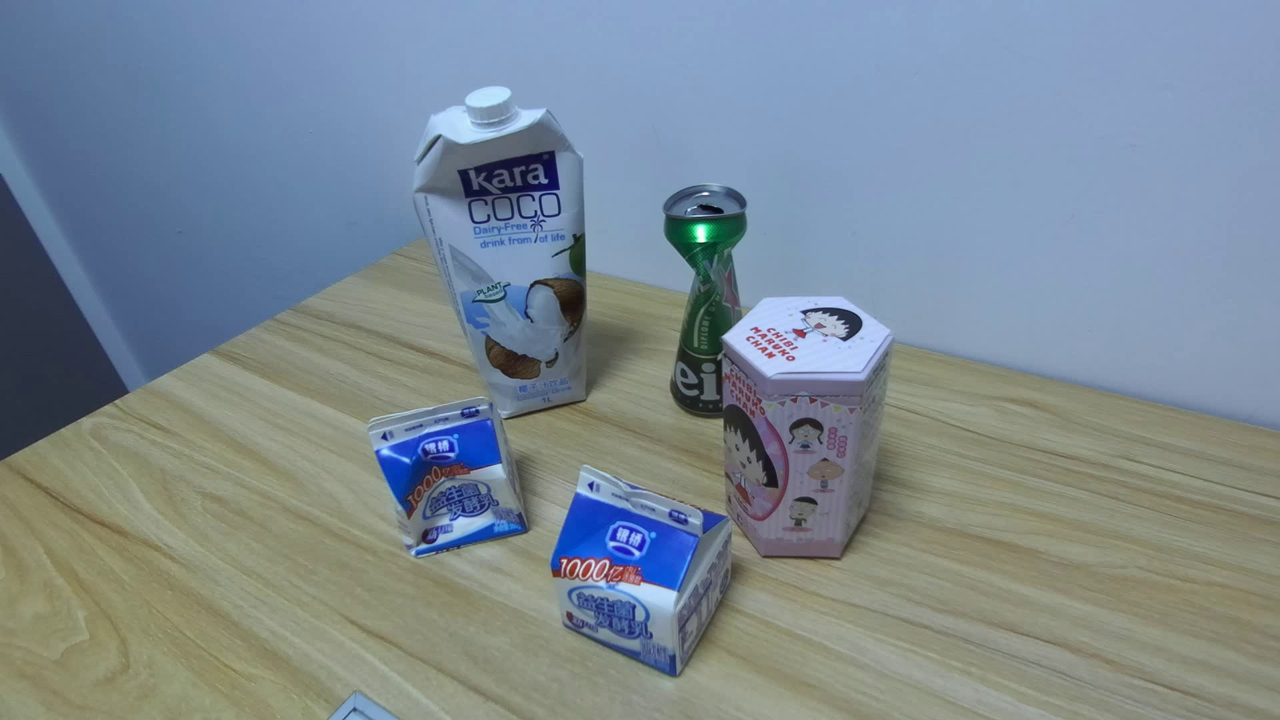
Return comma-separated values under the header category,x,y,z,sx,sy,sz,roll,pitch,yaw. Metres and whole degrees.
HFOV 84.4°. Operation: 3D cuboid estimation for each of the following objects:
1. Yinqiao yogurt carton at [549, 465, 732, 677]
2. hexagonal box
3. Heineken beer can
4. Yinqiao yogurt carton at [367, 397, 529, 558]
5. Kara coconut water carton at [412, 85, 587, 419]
category,x,y,z,sx,sy,sz,roll,pitch,yaw
Yinqiao yogurt carton,0.002,0.100,0.373,0.075,0.092,0.074,15,38,25
hexagonal box,0.093,0.041,0.408,0.084,0.136,0.091,-17,37,-18
Heineken beer can,0.052,-0.040,0.511,0.065,0.164,0.078,25,47,37
Yinqiao yogurt carton,-0.119,0.063,0.443,0.077,0.094,0.071,-12,39,-8
Kara coconut water carton,-0.091,-0.072,0.507,0.115,0.239,0.069,-12,37,-11
